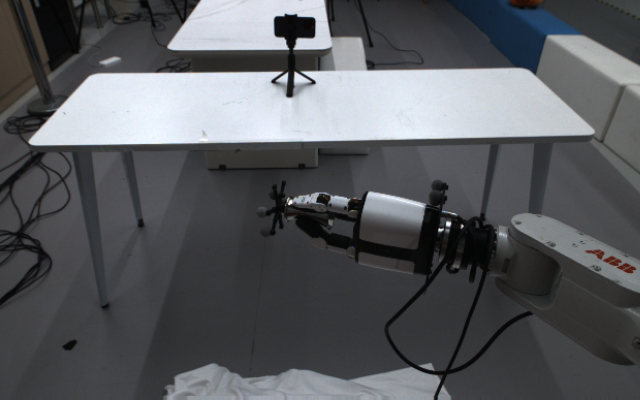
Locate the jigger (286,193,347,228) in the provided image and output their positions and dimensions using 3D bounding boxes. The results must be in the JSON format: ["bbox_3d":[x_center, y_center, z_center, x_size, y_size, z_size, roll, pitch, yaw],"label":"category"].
[{"bbox_3d":[-0.008,0.013,0.722,0.071,0.043,0.043,8,35,14],"label":"jigger"}]
